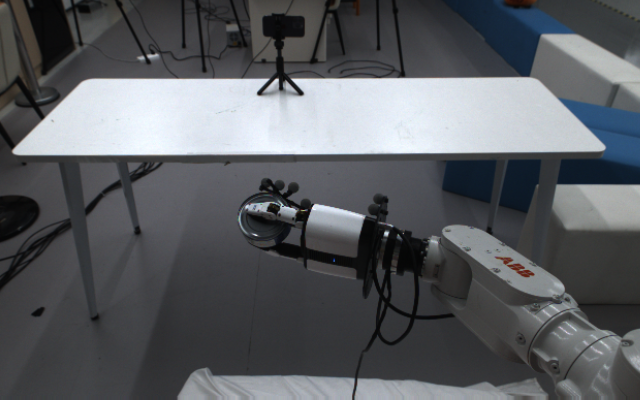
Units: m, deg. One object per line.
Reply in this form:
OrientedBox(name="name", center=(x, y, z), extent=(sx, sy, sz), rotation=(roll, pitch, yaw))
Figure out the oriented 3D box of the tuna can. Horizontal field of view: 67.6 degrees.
OrientedBox(name="tuna can", center=(-0.088, 0.033, 0.777), extent=(0.085, 0.034, 0.085), rotation=(-2, 60, 3))
